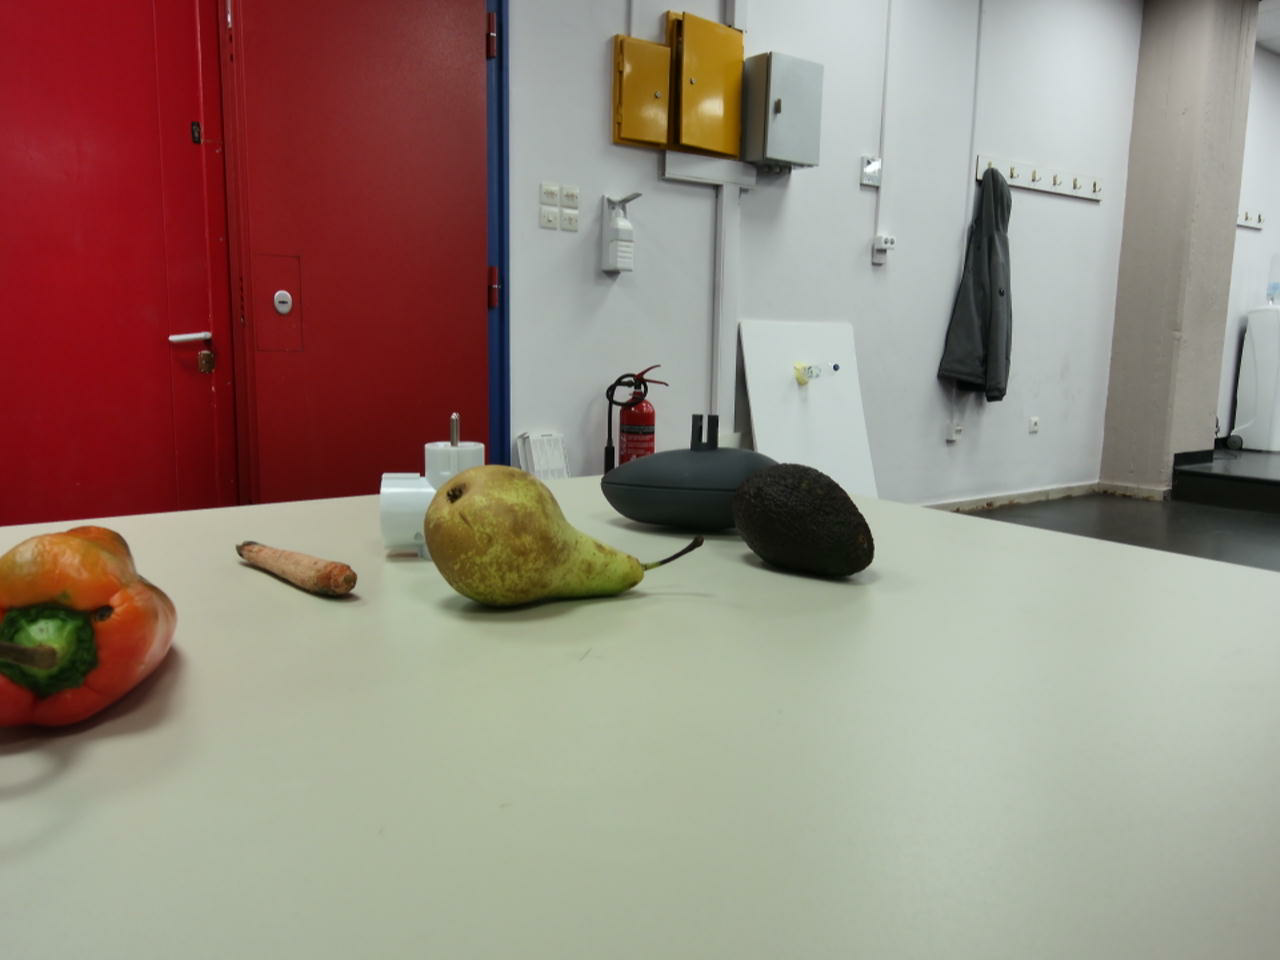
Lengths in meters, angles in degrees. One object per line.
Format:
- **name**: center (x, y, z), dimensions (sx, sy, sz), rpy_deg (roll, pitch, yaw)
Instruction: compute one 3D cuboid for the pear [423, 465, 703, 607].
- **pear**: center (-0.045, 0.028, 0.545), dimensions (0.144, 0.075, 0.072), rpy_deg (-5, 7, -29)
